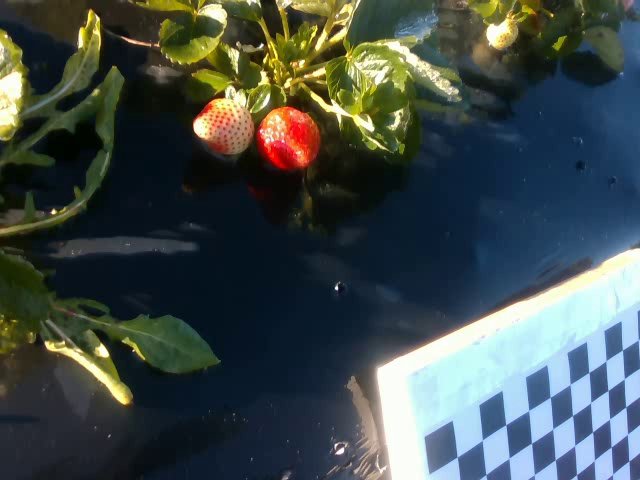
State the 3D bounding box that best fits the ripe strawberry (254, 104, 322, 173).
[{"bbox_3d":[-0.012,-0.053,0.334,0.040,0.038,0.056,-26,22,-3],"label":"ripe strawberry"}]
